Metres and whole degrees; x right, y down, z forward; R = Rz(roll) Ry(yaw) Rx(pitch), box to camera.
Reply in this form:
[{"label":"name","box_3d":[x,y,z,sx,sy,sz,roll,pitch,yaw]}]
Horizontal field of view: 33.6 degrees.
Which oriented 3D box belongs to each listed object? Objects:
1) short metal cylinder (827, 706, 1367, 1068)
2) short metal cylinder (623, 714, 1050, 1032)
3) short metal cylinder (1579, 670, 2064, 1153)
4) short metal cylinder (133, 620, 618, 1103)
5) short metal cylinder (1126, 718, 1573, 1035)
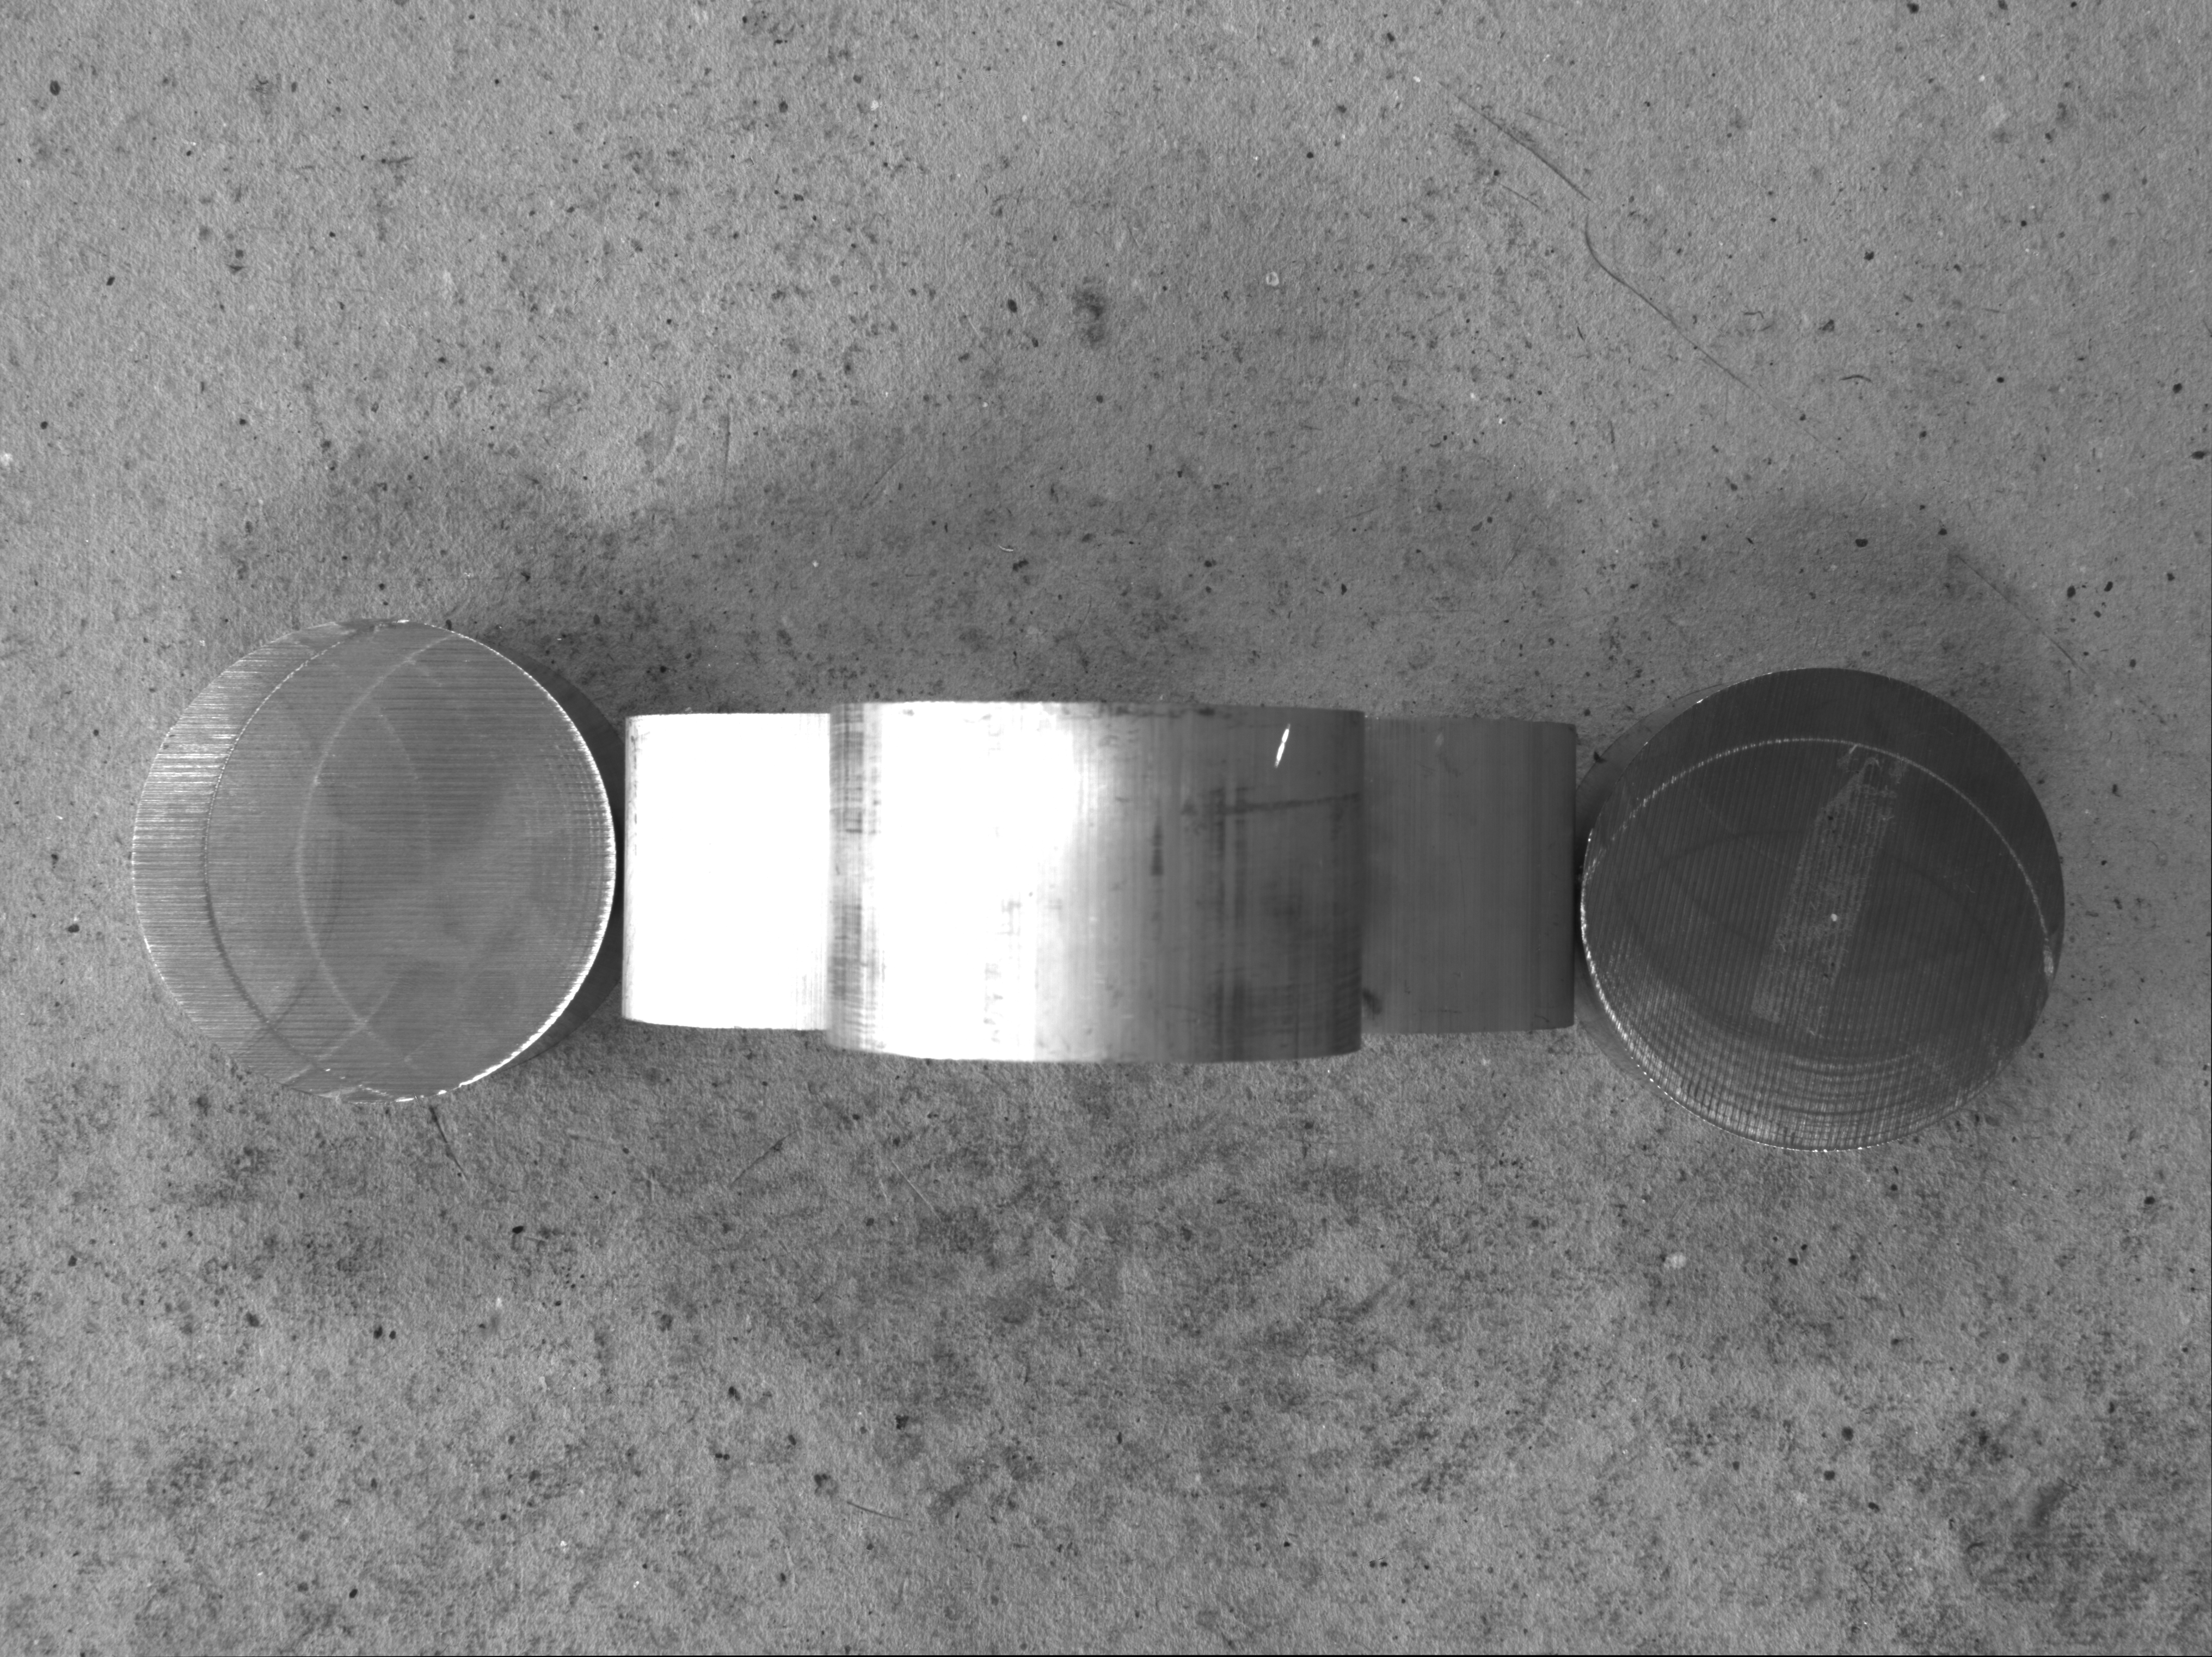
[{"label":"short metal cylinder","box_3d":[-0.001,0.007,0.548,0.080,0.080,0.050,1,91,0]},{"label":"short metal cylinder","box_3d":[-0.041,0.007,0.618,0.080,0.080,0.050,0,90,0]},{"label":"short metal cylinder","box_3d":[0.119,0.014,0.633,0.080,0.050,0.080,0,90,0]},{"label":"short metal cylinder","box_3d":[-0.121,0.005,0.633,0.080,0.050,0.080,0,90,0]},{"label":"short metal cylinder","box_3d":[0.039,0.008,0.618,0.080,0.080,0.050,0,89,0]}]
